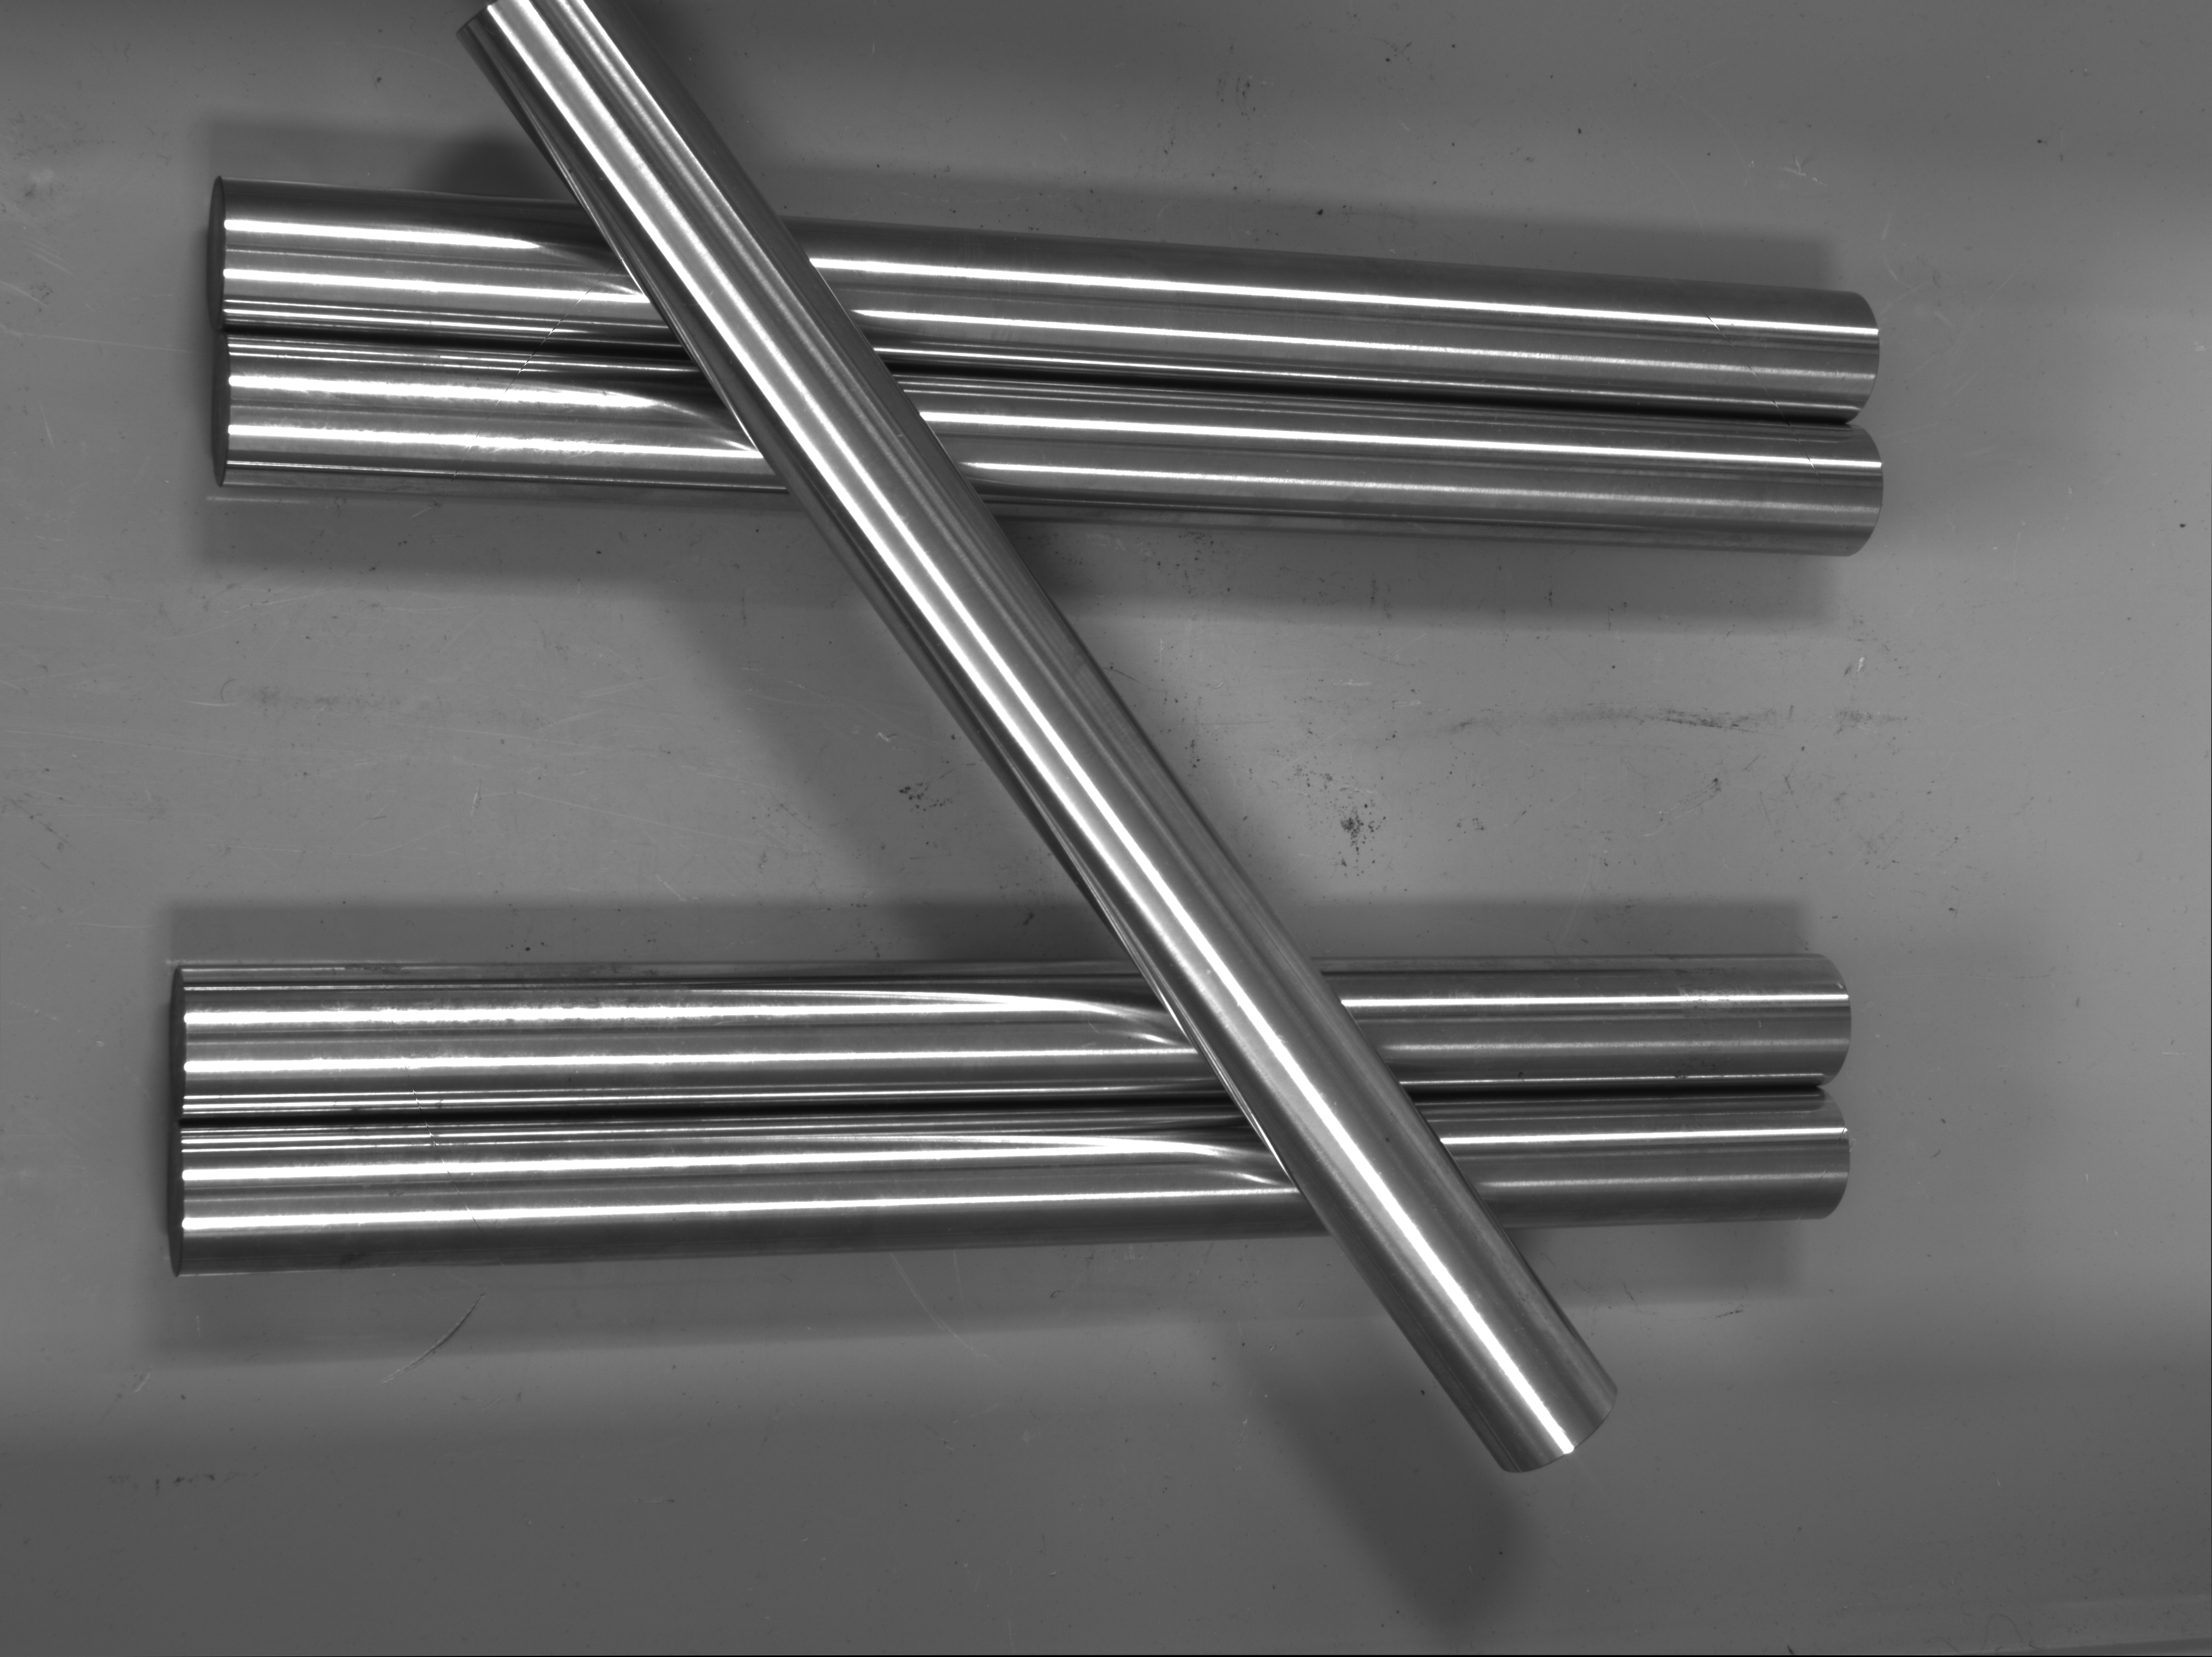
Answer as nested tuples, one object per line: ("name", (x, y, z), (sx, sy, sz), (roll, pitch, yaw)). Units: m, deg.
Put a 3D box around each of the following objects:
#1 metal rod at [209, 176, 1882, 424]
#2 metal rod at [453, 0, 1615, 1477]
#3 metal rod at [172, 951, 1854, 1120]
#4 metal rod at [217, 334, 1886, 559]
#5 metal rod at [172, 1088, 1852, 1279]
("metal rod", (-0.002, -0.090, 0.641), (0.301, 0.025, 0.025), (1, 90, -20))
("metal rod", (-0.007, -0.014, 0.613), (0.025, 0.025, 0.300), (-39, 102, -16))
("metal rod", (-0.007, 0.035, 0.638), (0.301, 0.025, 0.025), (0, 90, -20))
("metal rod", (-0.001, -0.065, 0.641), (0.301, 0.025, 0.025), (1, 90, -20))
("metal rod", (-0.008, 0.060, 0.638), (0.301, 0.025, 0.025), (0, 90, -20))
